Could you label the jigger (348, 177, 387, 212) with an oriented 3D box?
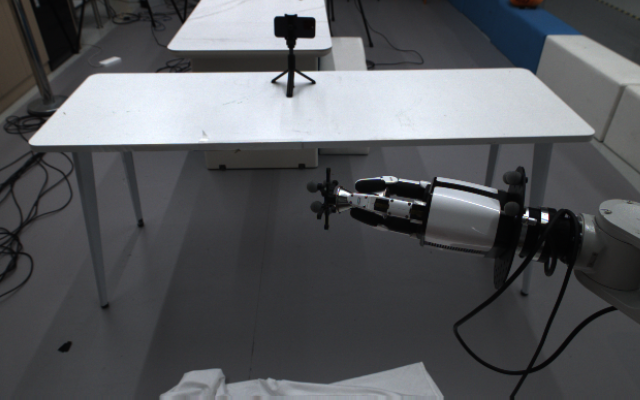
[{"bbox_3d":[0.067,-0.003,0.673,0.071,0.043,0.043,3,34,17],"label":"jigger"}]
